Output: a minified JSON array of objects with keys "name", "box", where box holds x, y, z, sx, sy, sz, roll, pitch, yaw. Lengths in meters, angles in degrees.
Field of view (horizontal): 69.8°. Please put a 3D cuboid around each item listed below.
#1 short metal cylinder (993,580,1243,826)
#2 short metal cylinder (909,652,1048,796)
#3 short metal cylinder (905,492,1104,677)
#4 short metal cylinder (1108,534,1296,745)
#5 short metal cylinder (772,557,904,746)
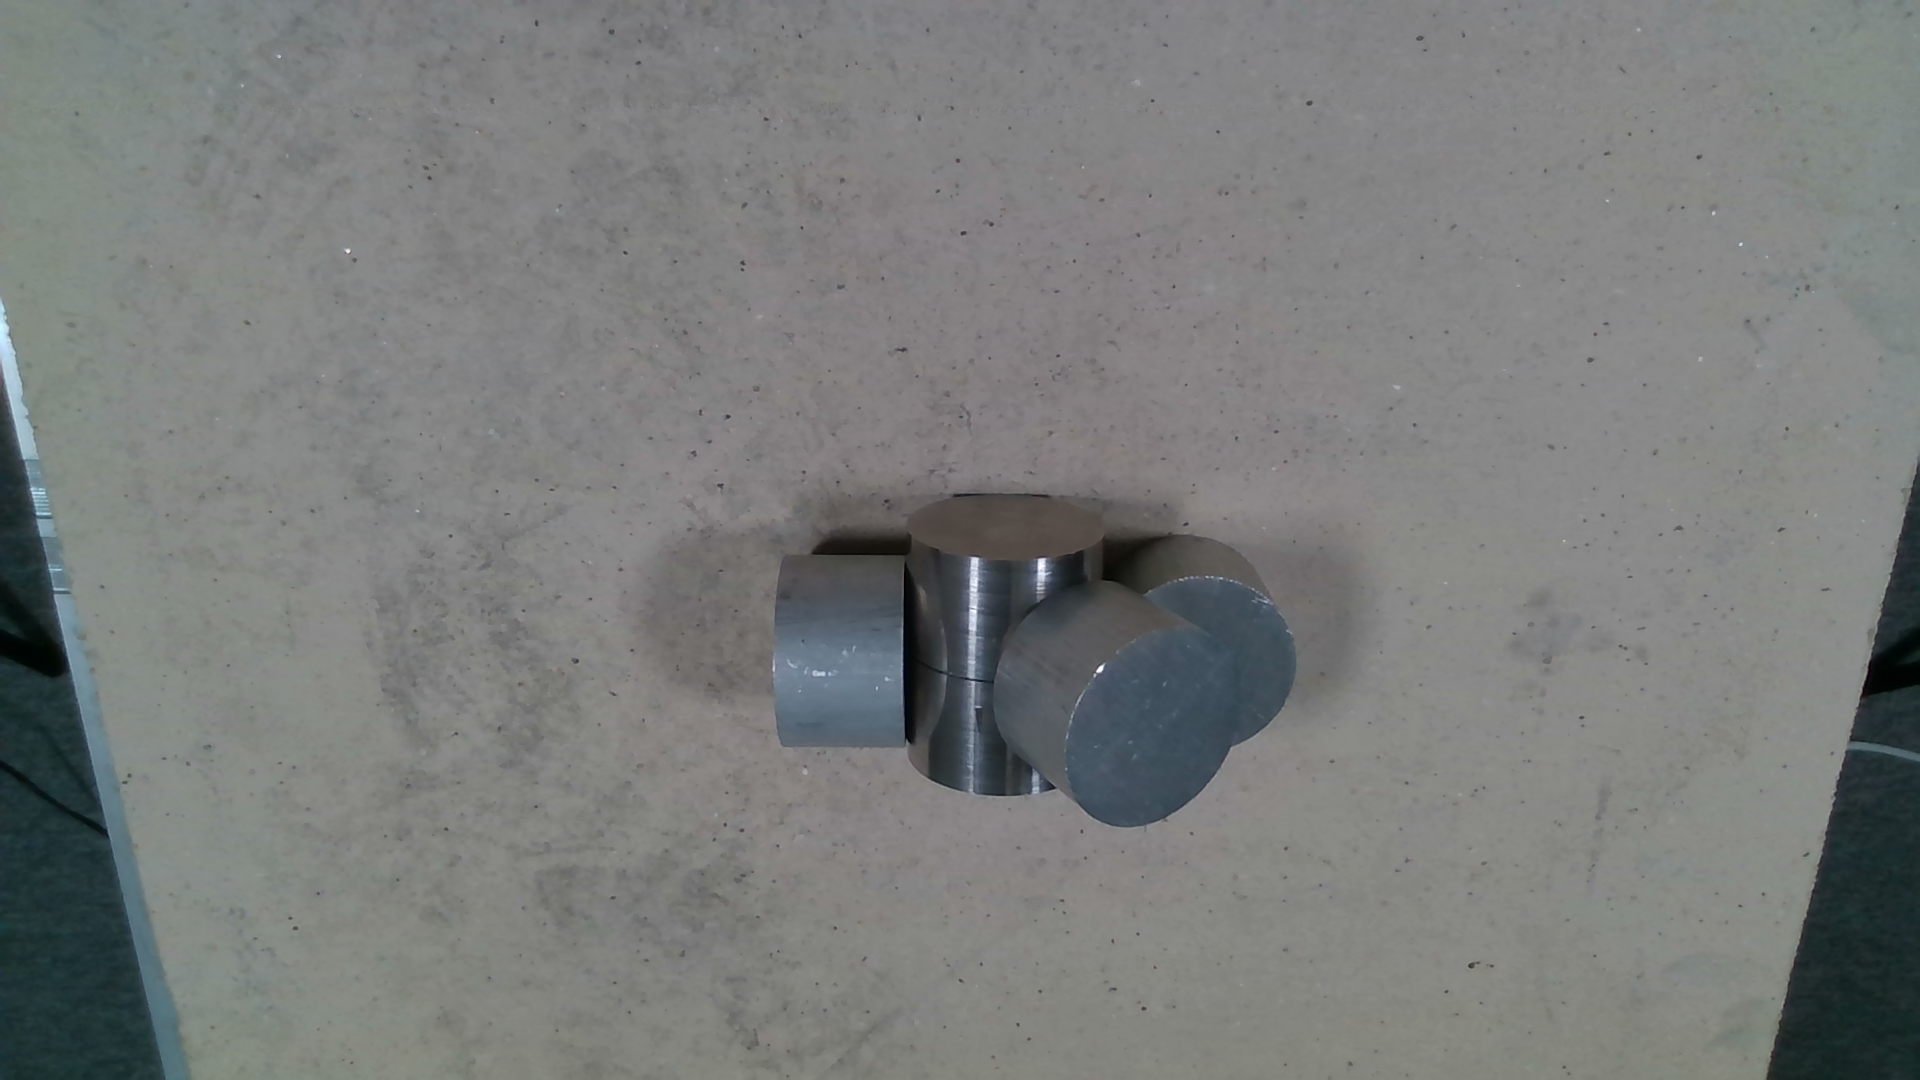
[{"name":"short metal cylinder","box":[0.060,0.061,0.524,0.080,0.050,0.080,-11,113,-27]},{"name":"short metal cylinder","box":[0.017,0.065,0.579,0.080,0.080,0.050,0,109,0]},{"name":"short metal cylinder","box":[0.018,0.016,0.562,0.080,0.080,0.050,1,110,0]},{"name":"short metal cylinder","box":[0.098,0.043,0.588,0.080,0.050,0.080,0,110,0]},{"name":"short metal cylinder","box":[-0.048,0.046,0.573,0.050,0.080,0.080,0,110,0]}]
